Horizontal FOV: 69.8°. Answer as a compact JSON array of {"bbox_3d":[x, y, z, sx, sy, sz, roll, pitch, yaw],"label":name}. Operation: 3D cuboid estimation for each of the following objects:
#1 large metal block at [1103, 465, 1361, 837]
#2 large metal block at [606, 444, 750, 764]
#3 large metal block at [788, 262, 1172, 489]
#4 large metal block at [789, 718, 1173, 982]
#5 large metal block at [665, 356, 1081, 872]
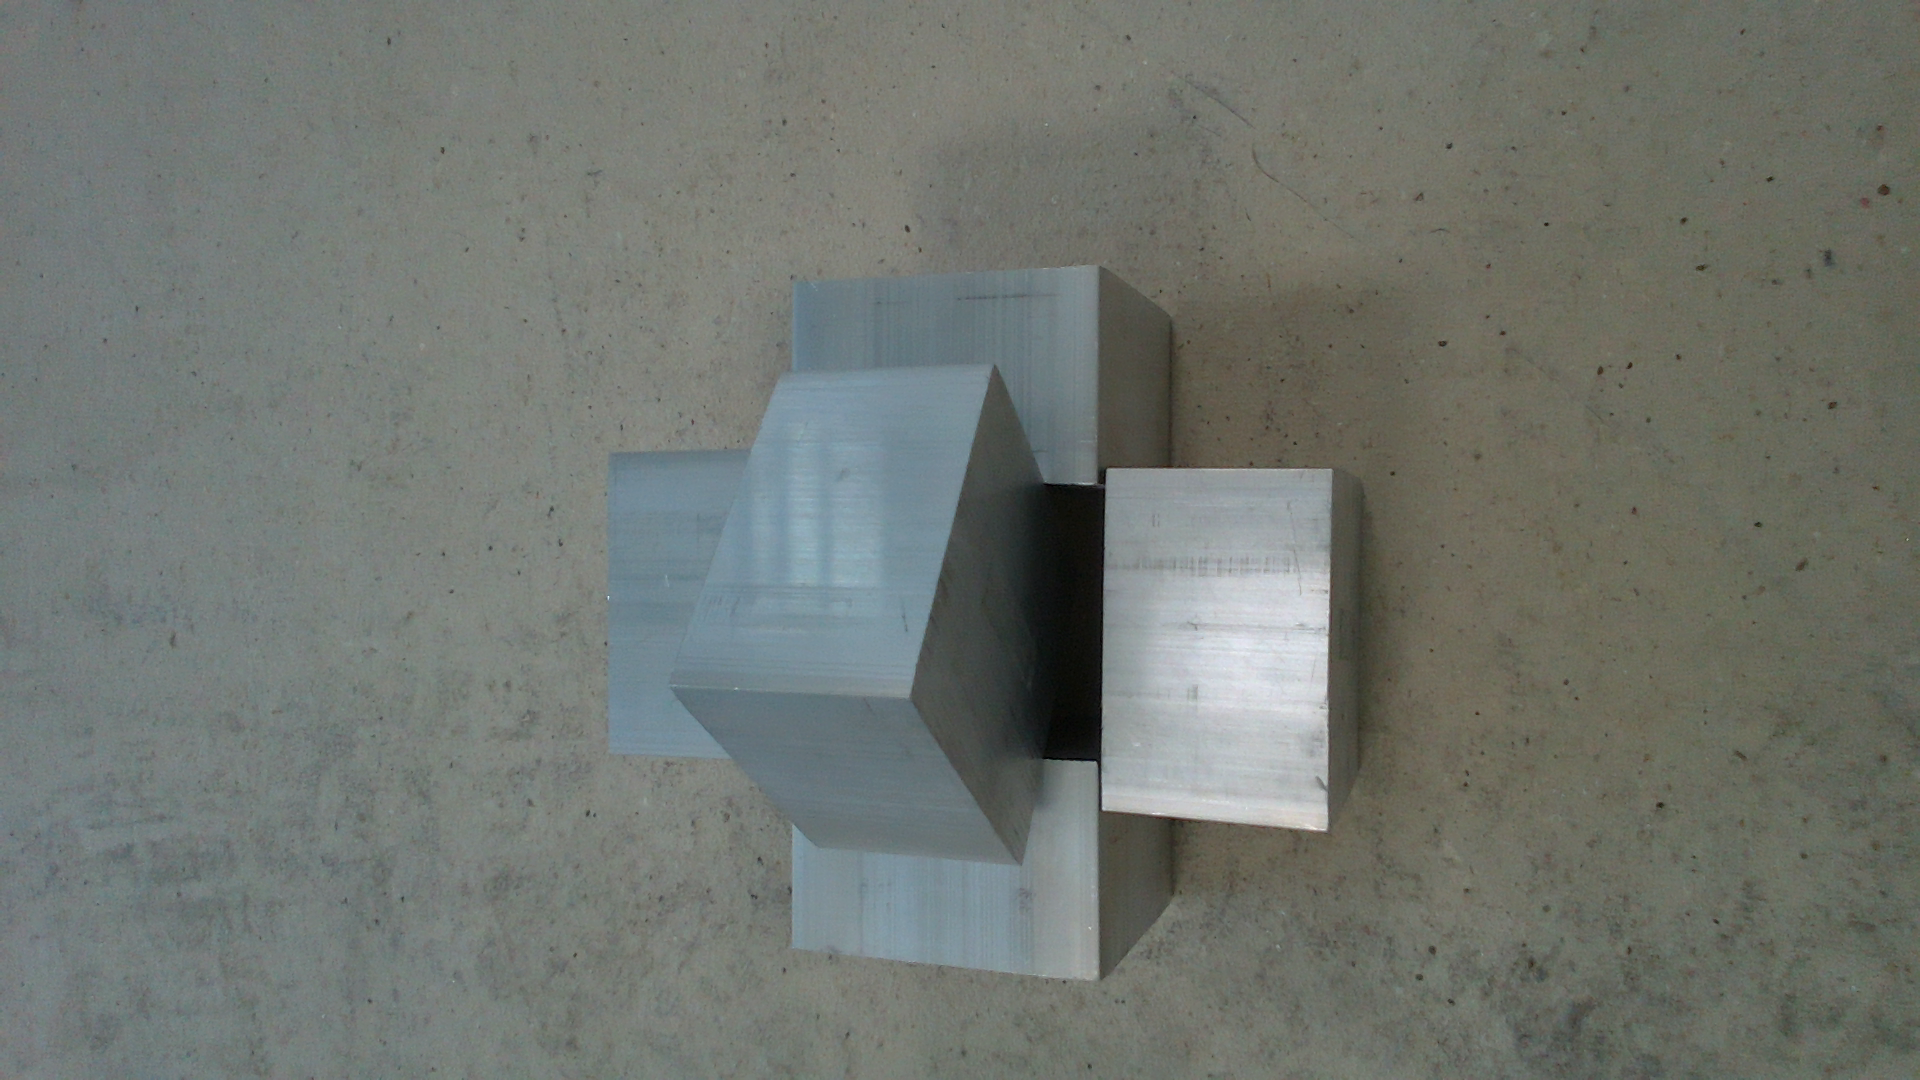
[{"bbox_3d":[0.070,0.023,0.341,0.050,0.080,0.080,1,90,20],"label":"large metal block"},{"bbox_3d":[-0.054,0.016,0.385,0.050,0.080,0.080,0,90,20],"label":"large metal block"},{"bbox_3d":[0.009,-0.039,0.364,0.080,0.080,0.050,1,91,20],"label":"large metal block"},{"bbox_3d":[0.009,0.076,0.364,0.080,0.080,0.050,0,90,20],"label":"large metal block"},{"bbox_3d":[-0.013,0.017,0.302,0.050,0.080,0.080,1,56,20],"label":"large metal block"}]
